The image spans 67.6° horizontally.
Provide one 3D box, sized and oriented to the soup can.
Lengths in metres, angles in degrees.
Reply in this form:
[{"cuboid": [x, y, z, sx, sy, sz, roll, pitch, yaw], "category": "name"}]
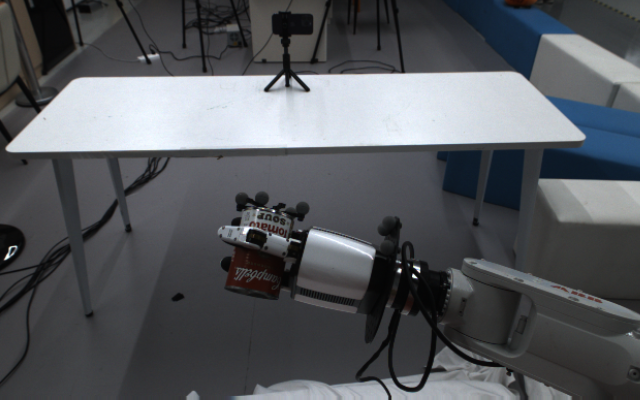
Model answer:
[{"cuboid": [-0.072, 0.067, 0.596, 0.067, 0.067, 0.101, 8, 72, 9], "category": "soup can"}]
